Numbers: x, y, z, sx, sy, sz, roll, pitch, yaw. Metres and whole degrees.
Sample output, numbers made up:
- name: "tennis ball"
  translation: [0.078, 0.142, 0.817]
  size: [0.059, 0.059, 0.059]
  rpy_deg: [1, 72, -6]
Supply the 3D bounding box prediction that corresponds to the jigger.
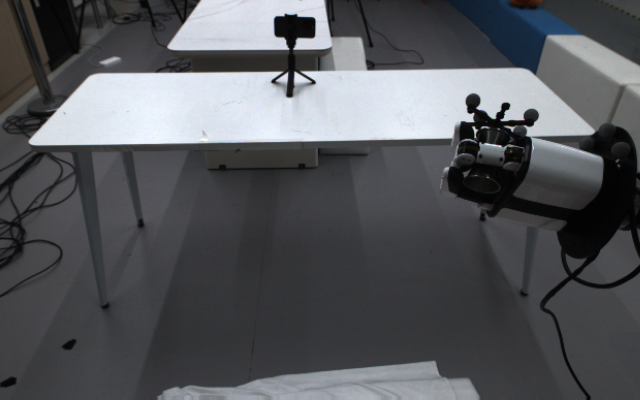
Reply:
- name: "jigger"
  translation: [0.202, -0.048, 0.582]
  size: [0.043, 0.043, 0.071]
  rpy_deg: [13, 72, 15]
